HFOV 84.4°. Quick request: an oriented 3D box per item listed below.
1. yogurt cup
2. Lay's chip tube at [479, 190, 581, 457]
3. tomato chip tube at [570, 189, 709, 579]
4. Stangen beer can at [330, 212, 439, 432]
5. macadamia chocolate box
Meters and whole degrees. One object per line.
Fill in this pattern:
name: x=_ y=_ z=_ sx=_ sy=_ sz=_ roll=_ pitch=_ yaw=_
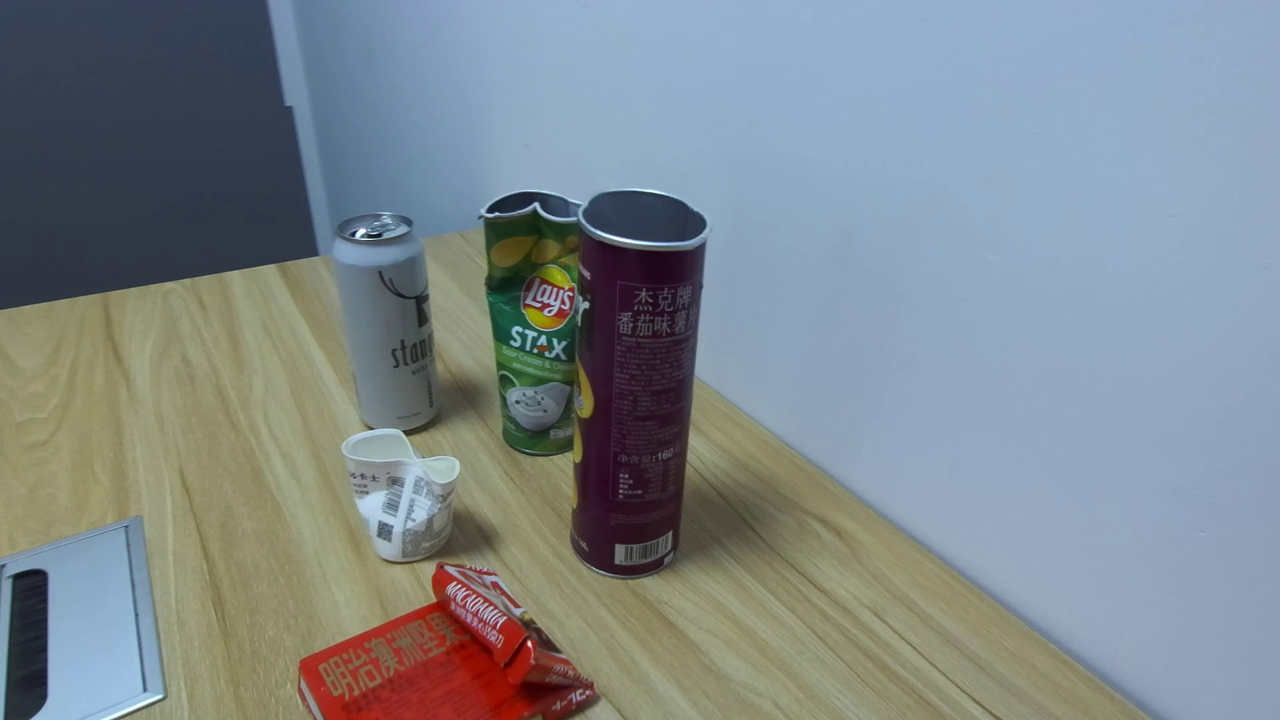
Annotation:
yogurt cup: x=-0.154 y=0.089 z=0.465 sx=0.075 sy=0.071 sz=0.053 roll=-1 pitch=33 yaw=-6
Lay's chip tube: x=-0.074 y=-0.025 z=0.538 sx=0.077 sy=0.201 sz=0.069 roll=-8 pitch=33 yaw=-15
tomato chip tube: x=-0.002 y=0.024 z=0.428 sx=0.076 sy=0.234 sz=0.080 roll=15 pitch=33 yaw=18
Stangen beer can: x=-0.199 y=-0.026 z=0.562 sx=0.067 sy=0.171 sz=0.067 roll=3 pitch=30 yaw=-1
macadamia chocolate box: x=-0.107 y=0.166 z=0.380 sx=0.127 sy=0.056 sz=0.111 roll=-25 pitch=25 yaw=-34
